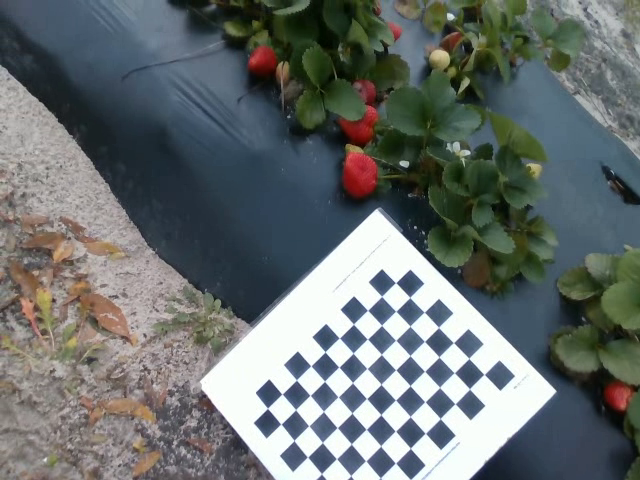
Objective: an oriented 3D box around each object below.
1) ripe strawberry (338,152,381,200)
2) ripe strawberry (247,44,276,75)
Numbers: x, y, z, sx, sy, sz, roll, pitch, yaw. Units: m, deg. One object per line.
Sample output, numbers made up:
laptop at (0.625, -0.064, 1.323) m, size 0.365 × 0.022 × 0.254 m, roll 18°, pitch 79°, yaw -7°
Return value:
ripe strawberry at (0.049, -0.084, 0.744) m, size 0.057 × 0.056 × 0.065 m, roll 4°, pitch -7°, yaw 24°
ripe strawberry at (-0.073, -0.236, 0.790) m, size 0.044 × 0.041 × 0.052 m, roll 27°, pitch 39°, yaw 13°
